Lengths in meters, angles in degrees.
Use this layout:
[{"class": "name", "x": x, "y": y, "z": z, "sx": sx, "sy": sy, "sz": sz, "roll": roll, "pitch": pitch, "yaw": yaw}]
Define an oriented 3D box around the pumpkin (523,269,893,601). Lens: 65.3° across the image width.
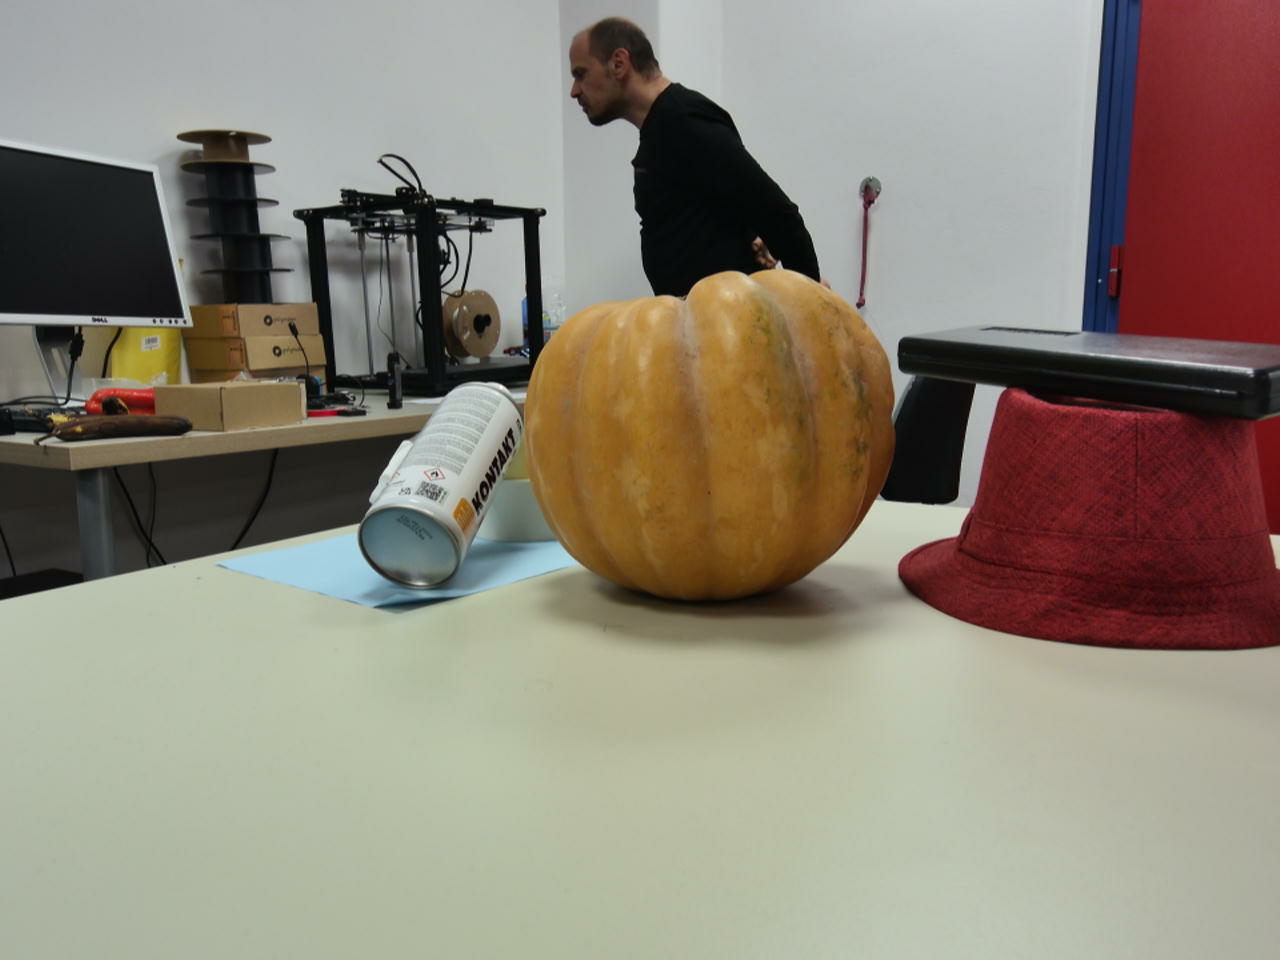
[{"class": "pumpkin", "x": 0.040, "y": -0.027, "z": 0.615, "sx": 0.230, "sy": 0.194, "sz": 0.230, "roll": 1, "pitch": 7, "yaw": 0}]
